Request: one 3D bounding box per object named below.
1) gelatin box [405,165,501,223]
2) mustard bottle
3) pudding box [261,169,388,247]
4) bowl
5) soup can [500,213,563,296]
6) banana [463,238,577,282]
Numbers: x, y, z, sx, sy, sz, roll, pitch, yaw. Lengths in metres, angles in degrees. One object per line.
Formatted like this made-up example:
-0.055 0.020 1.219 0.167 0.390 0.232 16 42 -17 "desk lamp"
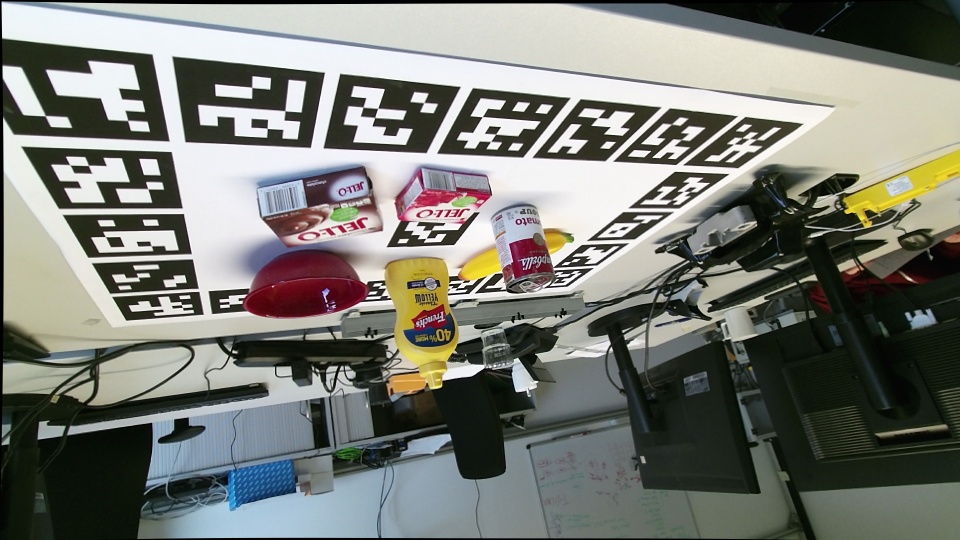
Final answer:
-0.031 -0.084 0.616 0.090 0.030 0.073 -1 154 -32 "gelatin box"
-0.076 0.091 0.794 0.096 0.190 0.058 -3 161 -26 "mustard bottle"
-0.164 -0.062 0.579 0.114 0.038 0.090 -12 155 -3 "pudding box"
-0.241 0.018 0.733 0.162 0.055 0.162 -13 162 -4 "bowl"
0.068 -0.018 0.726 0.068 0.101 0.068 -10 161 -3 "soup can"
0.054 -0.013 0.852 0.198 0.038 0.074 -20 169 19 "banana"
